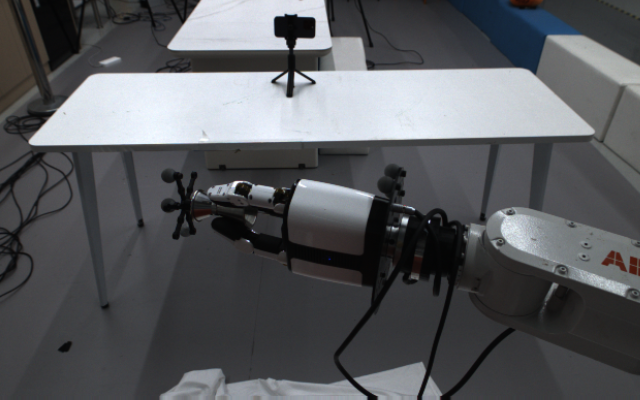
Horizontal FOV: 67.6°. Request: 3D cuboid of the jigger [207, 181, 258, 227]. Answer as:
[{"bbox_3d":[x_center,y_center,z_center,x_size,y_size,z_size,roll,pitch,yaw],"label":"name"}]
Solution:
[{"bbox_3d":[-0.105,0.006,0.573,0.071,0.043,0.043,3,34,13],"label":"jigger"}]
